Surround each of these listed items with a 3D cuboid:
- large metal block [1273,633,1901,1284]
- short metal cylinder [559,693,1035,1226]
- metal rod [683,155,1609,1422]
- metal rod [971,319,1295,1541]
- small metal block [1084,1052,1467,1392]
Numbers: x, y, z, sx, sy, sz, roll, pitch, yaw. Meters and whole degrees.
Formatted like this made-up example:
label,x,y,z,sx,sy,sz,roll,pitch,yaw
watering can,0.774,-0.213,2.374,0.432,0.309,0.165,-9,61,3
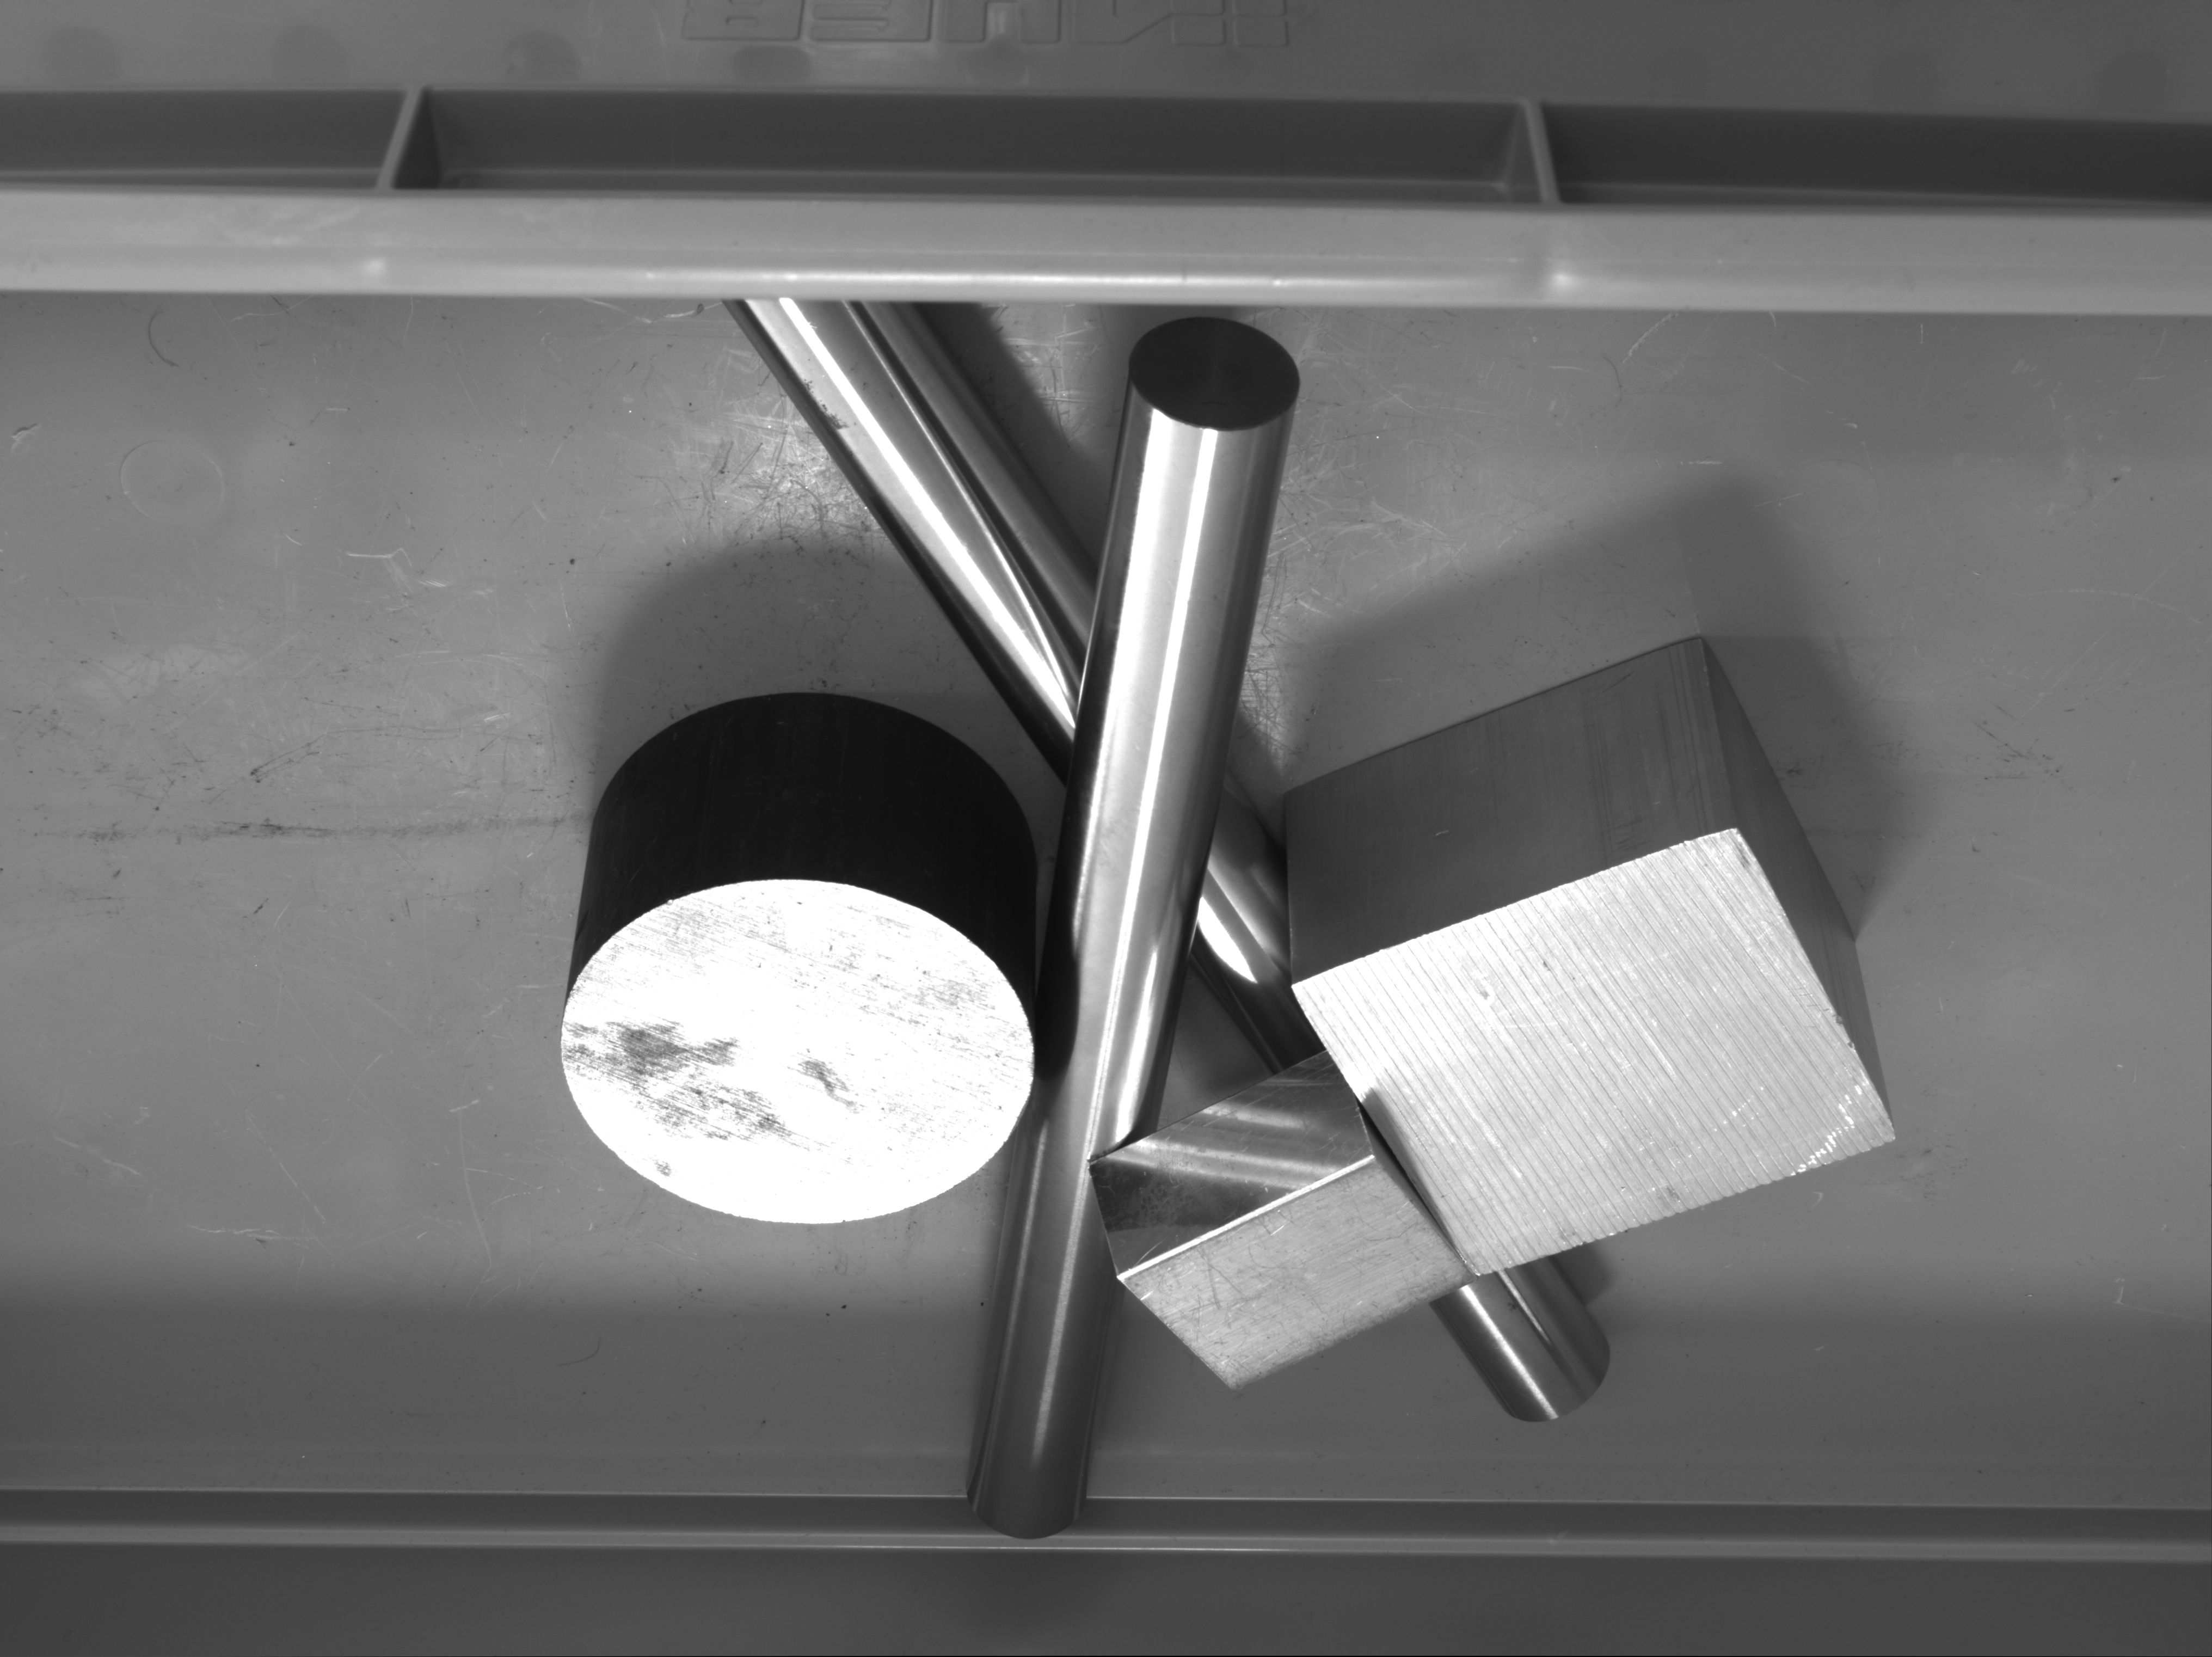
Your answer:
label,x,y,z,sx,sy,sz,roll,pitch,yaw
large metal block,0.083,0.024,0.641,0.080,0.050,0.080,-22,127,17
short metal cylinder,-0.053,0.023,0.641,0.080,0.050,0.080,0,130,0
metal rod,0.017,0.007,0.643,0.025,0.025,0.301,-22,127,18
metal rod,0.000,0.035,0.641,0.025,0.025,0.300,5,138,-4
small metal block,0.032,0.070,0.655,0.050,0.025,0.050,-27,140,11
